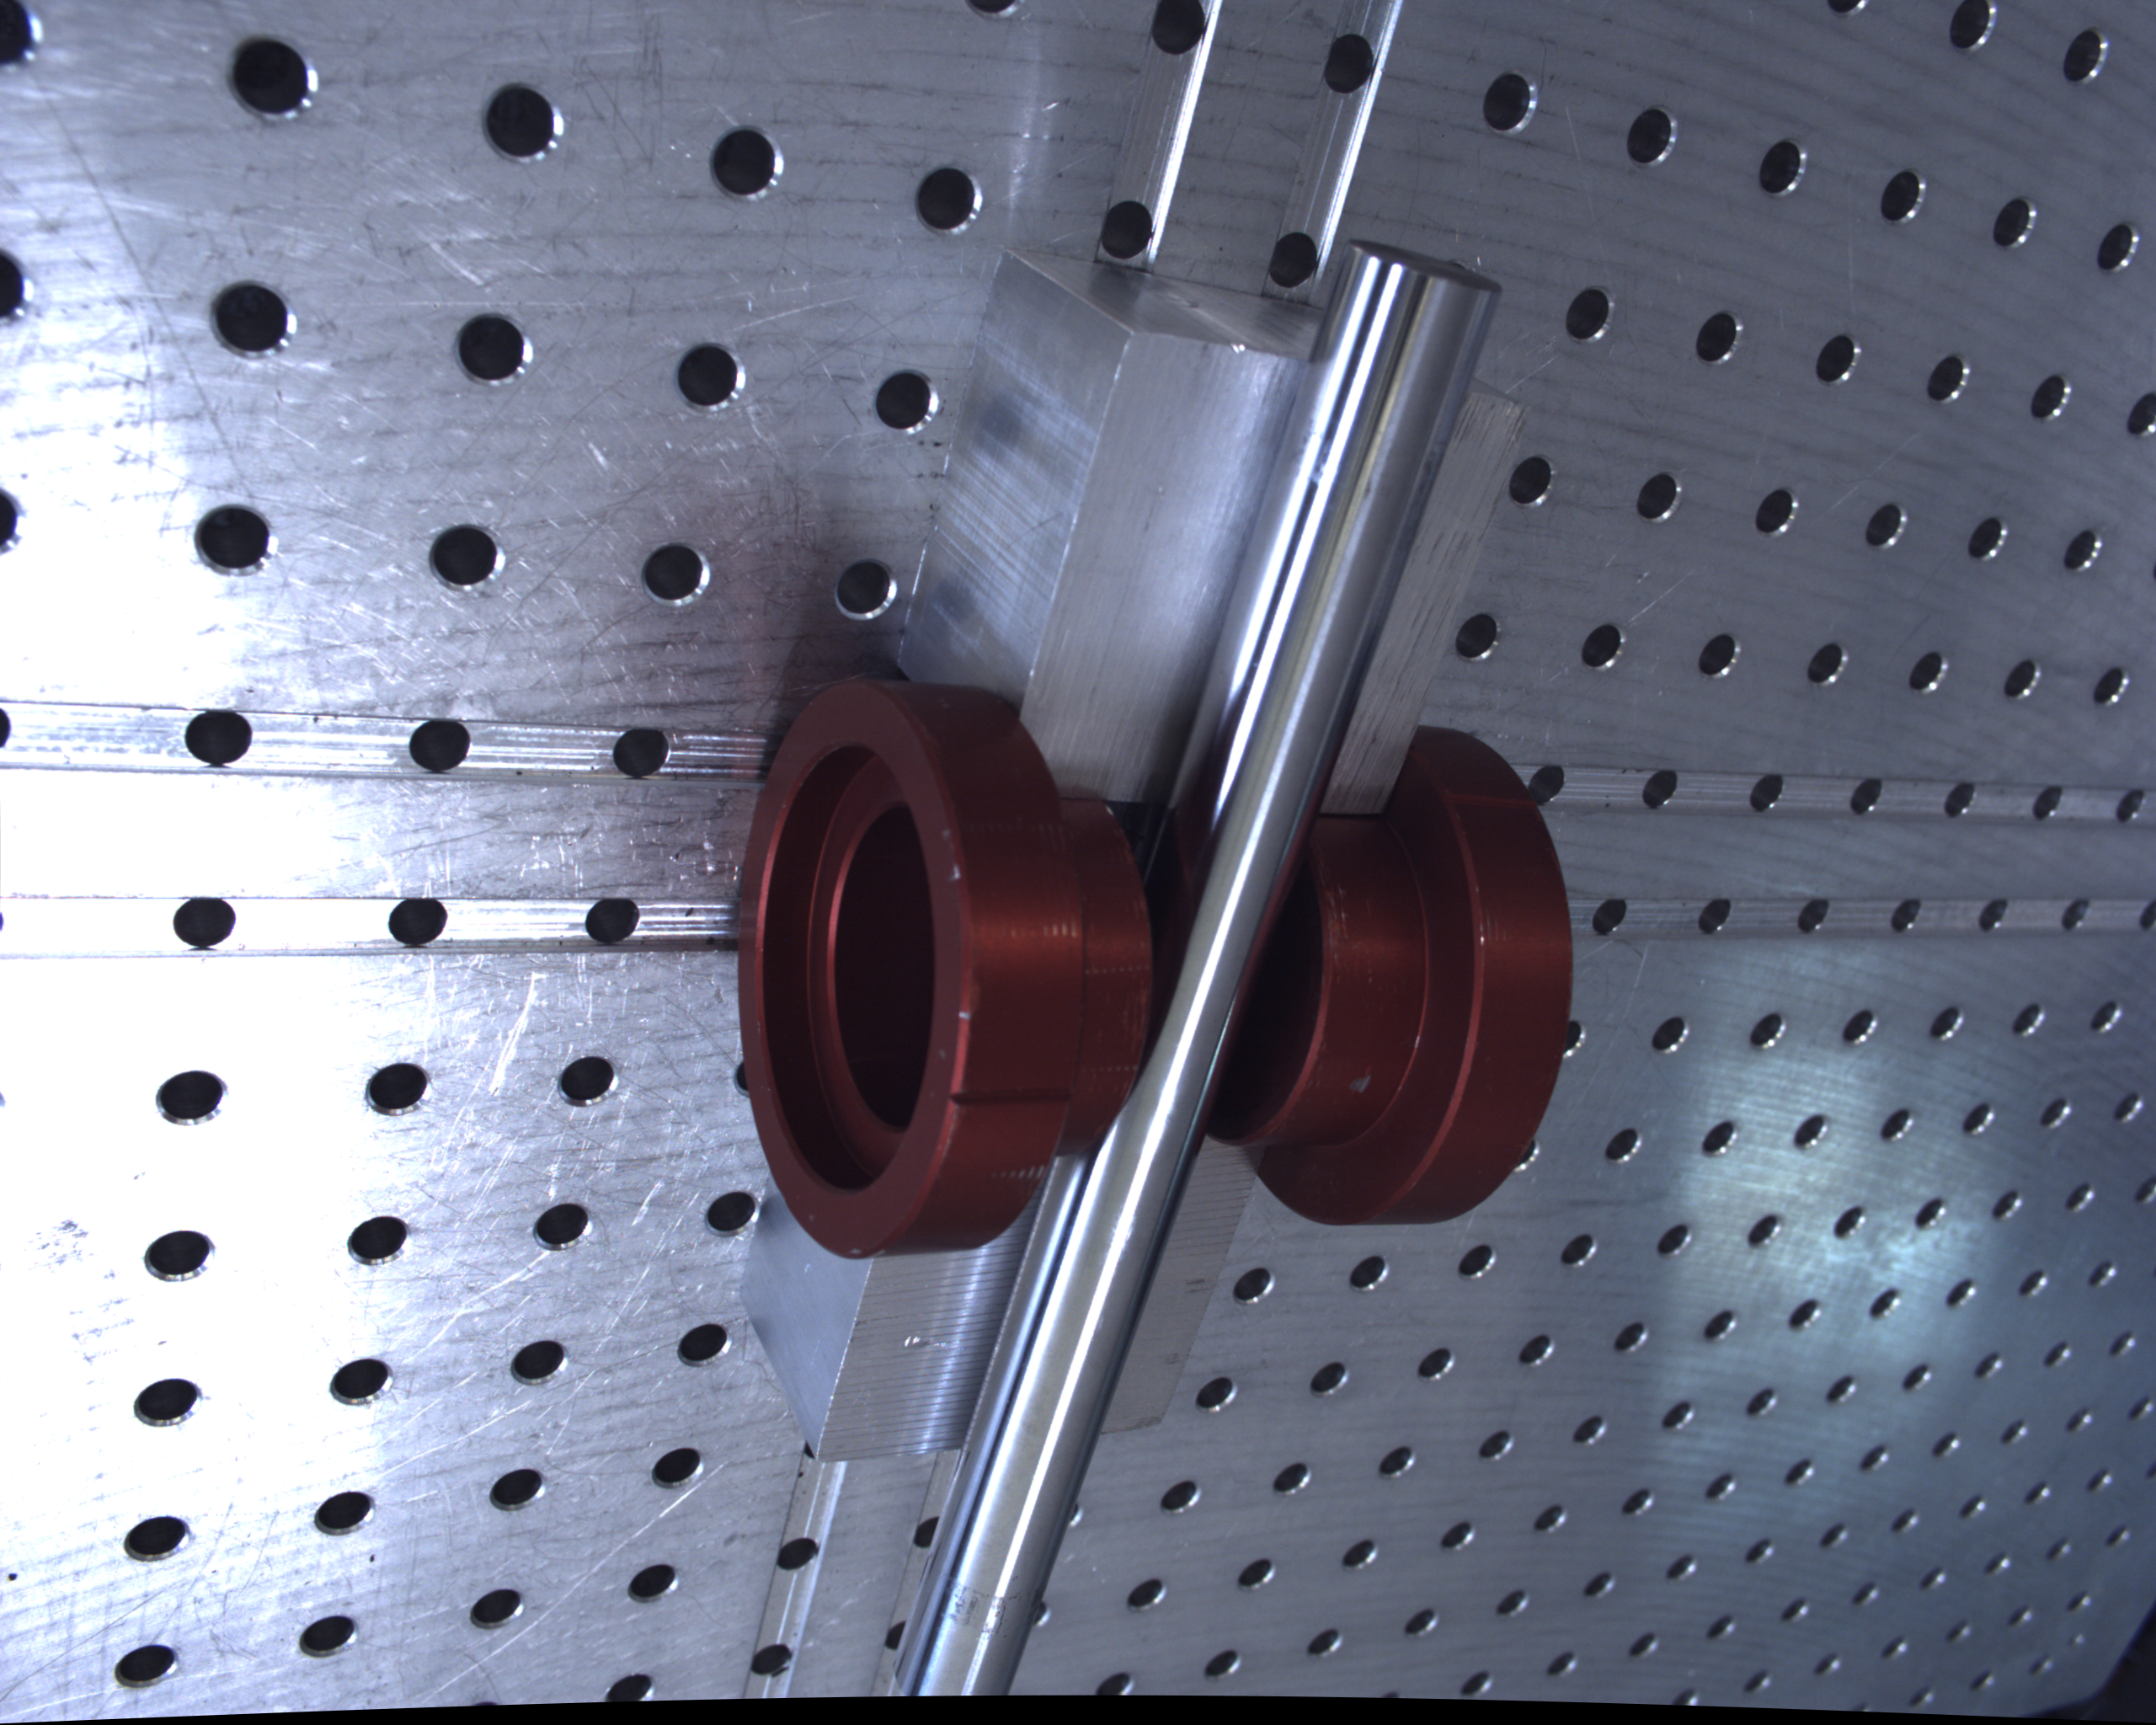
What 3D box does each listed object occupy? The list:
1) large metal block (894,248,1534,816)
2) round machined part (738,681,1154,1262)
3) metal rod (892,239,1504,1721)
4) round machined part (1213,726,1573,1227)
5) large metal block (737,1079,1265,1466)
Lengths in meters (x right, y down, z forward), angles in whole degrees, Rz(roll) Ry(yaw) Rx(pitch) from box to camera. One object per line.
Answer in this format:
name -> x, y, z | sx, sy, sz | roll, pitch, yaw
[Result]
large metal block -> 0.022, -0.057, 0.371 | 0.081, 0.050, 0.079 | 2, 118, -30
round machined part -> -0.022, 0.018, 0.362 | 0.042, 0.098, 0.097 | 2, 118, -29
metal rod -> 0.013, 0.039, 0.378 | 0.025, 0.025, 0.298 | 3, 117, -30
round machined part -> 0.048, 0.021, 0.402 | 0.042, 0.098, 0.097 | 4, 117, -25
large metal block -> -0.017, 0.072, 0.430 | 0.081, 0.050, 0.079 | 3, 117, -30
